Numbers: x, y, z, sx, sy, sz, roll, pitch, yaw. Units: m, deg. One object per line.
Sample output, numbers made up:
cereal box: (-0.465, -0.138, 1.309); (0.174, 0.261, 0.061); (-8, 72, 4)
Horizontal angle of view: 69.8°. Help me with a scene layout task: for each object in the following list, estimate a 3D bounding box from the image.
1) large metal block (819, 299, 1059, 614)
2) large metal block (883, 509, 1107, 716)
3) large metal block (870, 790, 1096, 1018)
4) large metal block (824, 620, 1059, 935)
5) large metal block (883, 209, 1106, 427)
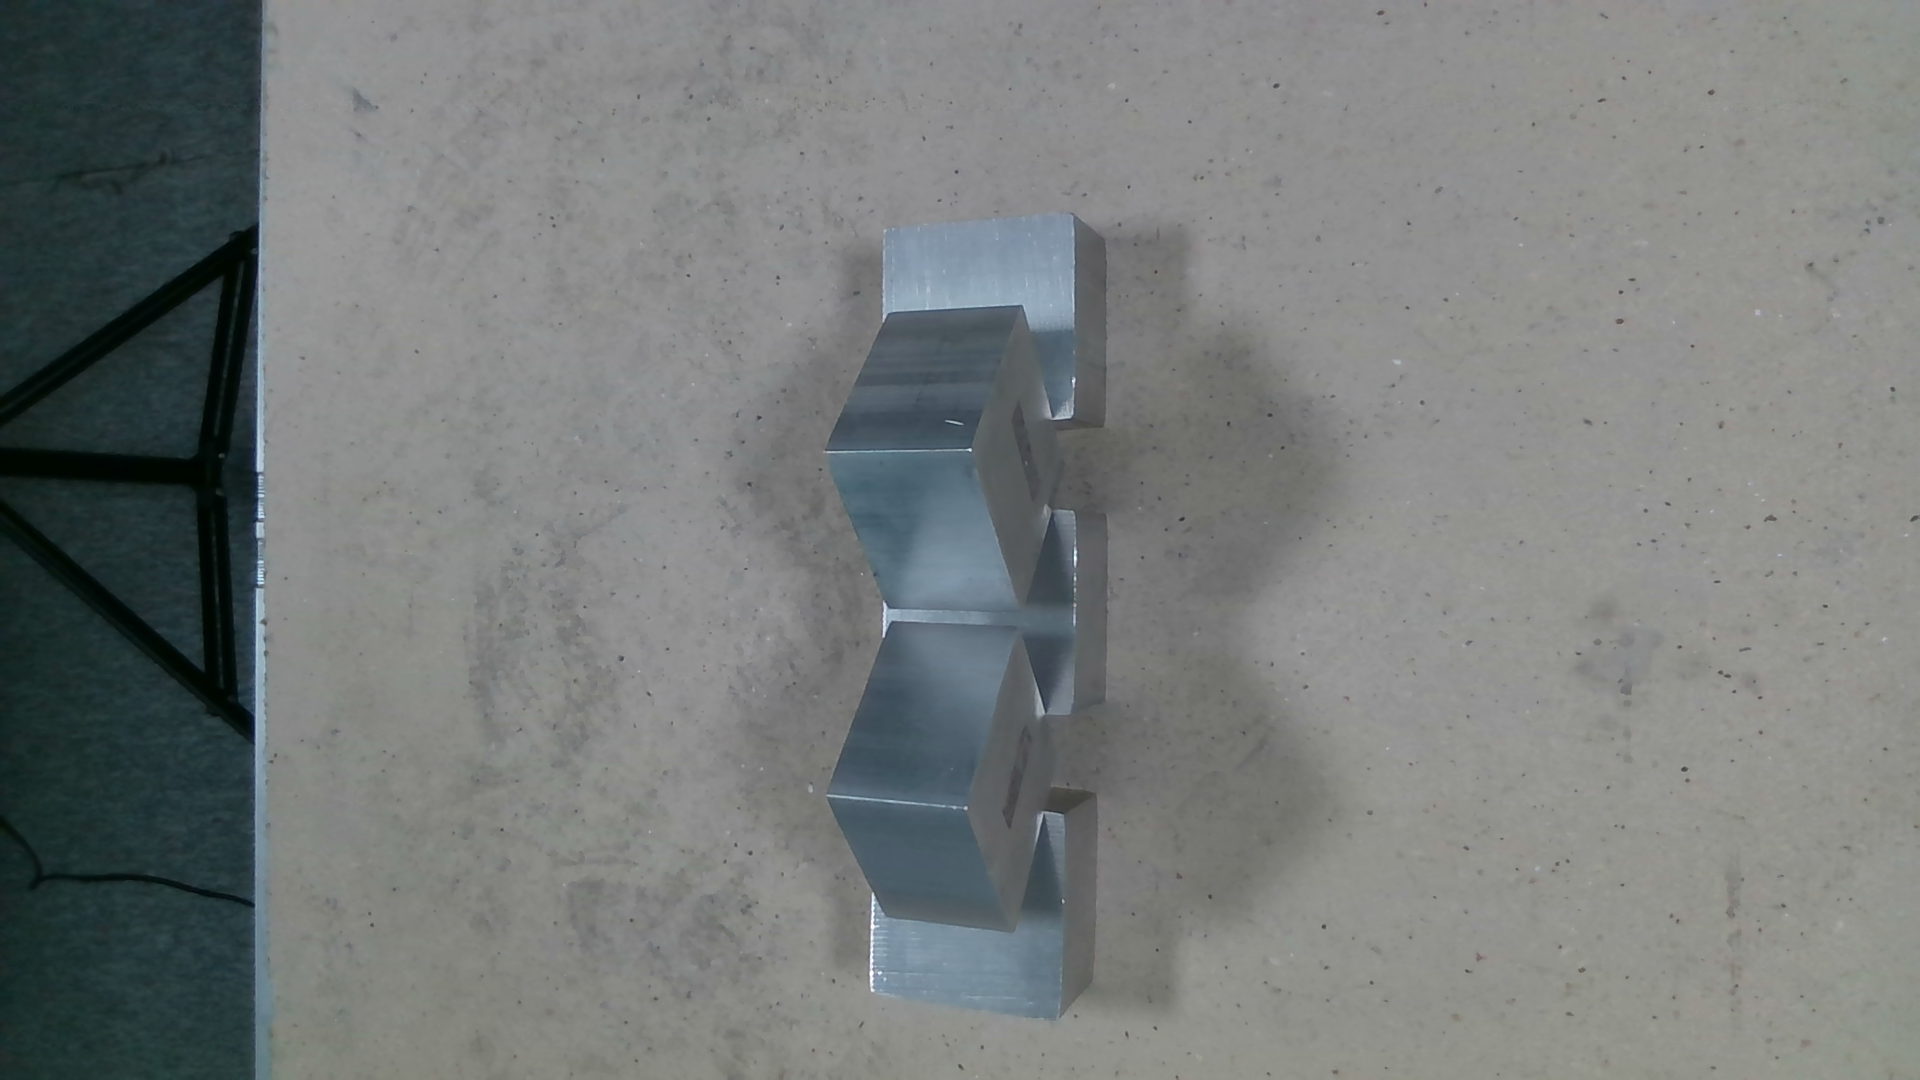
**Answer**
large metal block: (-0.004, -0.030, 0.504); (0.050, 0.080, 0.080); (0, 135, 21)
large metal block: (0.015, 0.028, 0.568); (0.080, 0.050, 0.080); (1, 91, 20)
large metal block: (0.010, 0.144, 0.570); (0.080, 0.050, 0.080); (2, 91, 20)
large metal block: (-0.003, 0.087, 0.507); (0.050, 0.080, 0.080); (1, 46, 20)
large metal block: (0.015, -0.087, 0.566); (0.080, 0.050, 0.080); (0, 91, 20)
